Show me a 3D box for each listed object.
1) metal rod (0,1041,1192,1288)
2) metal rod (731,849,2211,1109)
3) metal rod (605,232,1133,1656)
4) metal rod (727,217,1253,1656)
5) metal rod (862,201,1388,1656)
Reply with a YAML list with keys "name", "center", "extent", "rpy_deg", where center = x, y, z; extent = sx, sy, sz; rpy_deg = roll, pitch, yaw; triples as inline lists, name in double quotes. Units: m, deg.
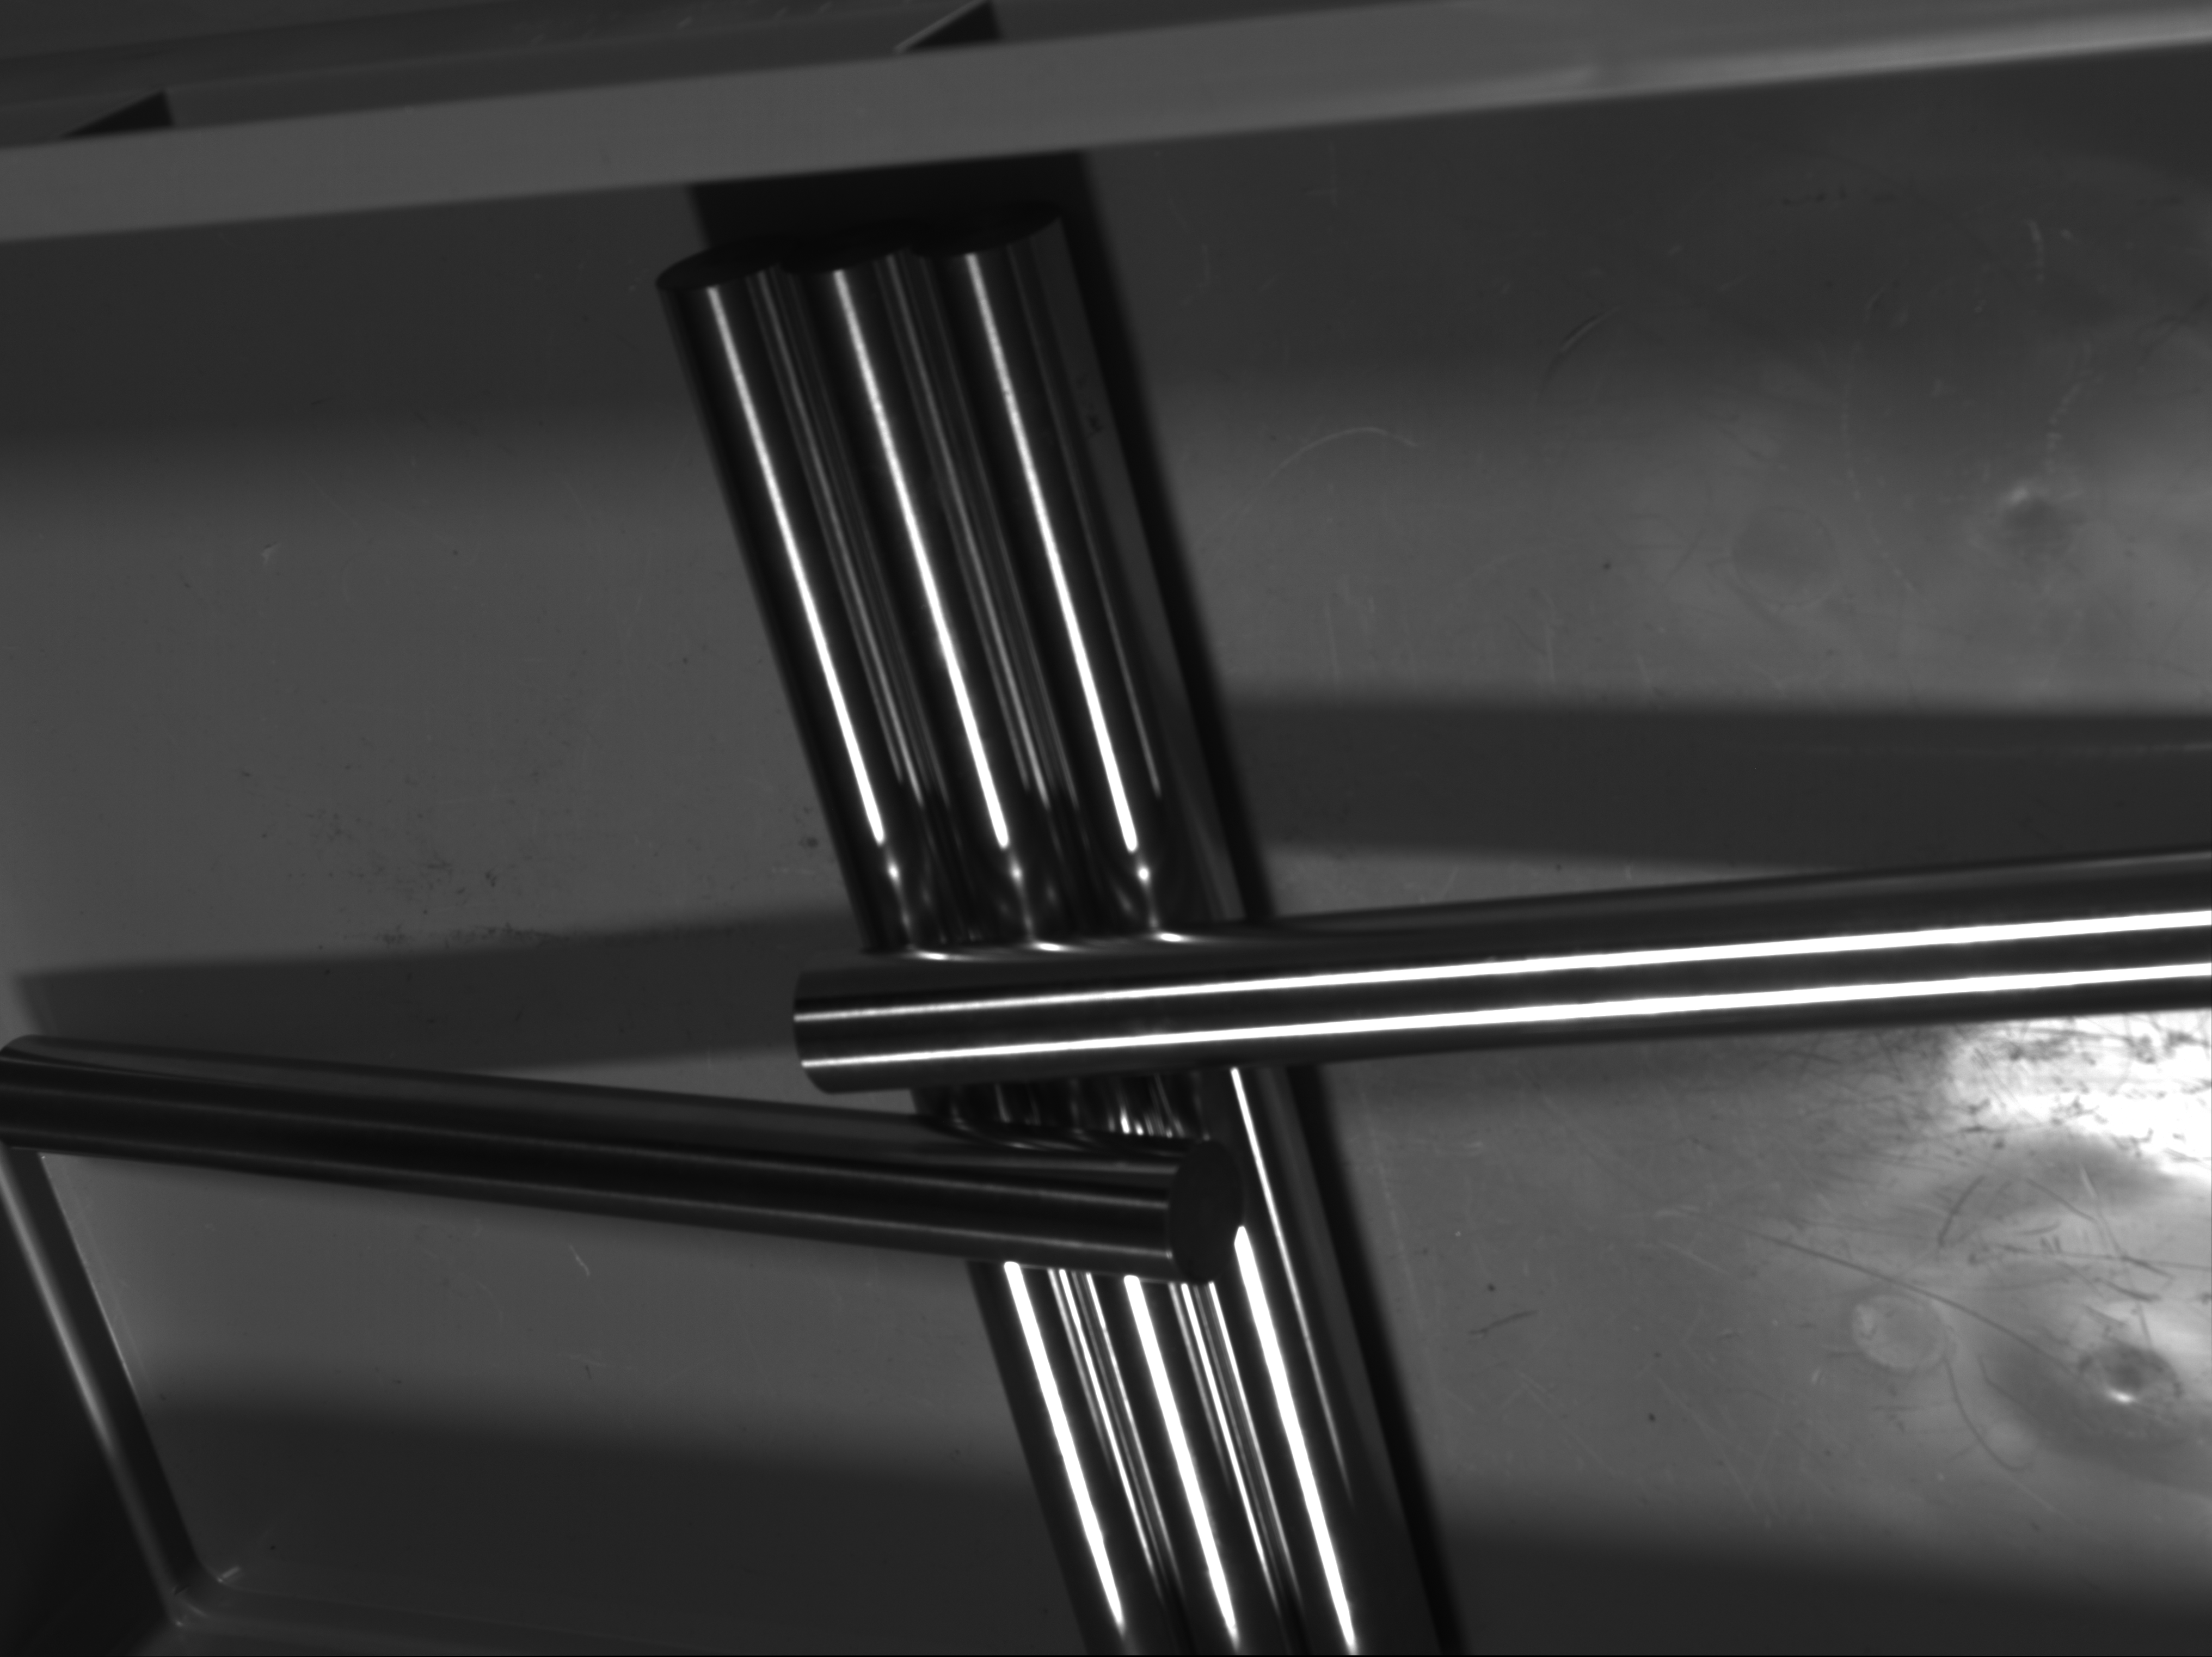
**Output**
- name: "metal rod"
  center: [-0.118, 0.062, 0.706]
  extent: [0.299, 0.025, 0.025]
  rpy_deg: [2, 119, 33]
- name: "metal rod"
  center: [0.079, 0.023, 0.583]
  extent: [0.299, 0.025, 0.025]
  rpy_deg: [-5, 116, 22]
- name: "metal rod"
  center: [-0.036, 0.037, 0.670]
  extent: [0.025, 0.025, 0.300]
  rpy_deg: [-2, 118, 27]
- name: "metal rod"
  center: [-0.014, 0.037, 0.659]
  extent: [0.025, 0.025, 0.300]
  rpy_deg: [-2, 118, 27]
- name: "metal rod"
  center: [0.009, 0.036, 0.647]
  extent: [0.025, 0.025, 0.300]
  rpy_deg: [-2, 118, 27]
